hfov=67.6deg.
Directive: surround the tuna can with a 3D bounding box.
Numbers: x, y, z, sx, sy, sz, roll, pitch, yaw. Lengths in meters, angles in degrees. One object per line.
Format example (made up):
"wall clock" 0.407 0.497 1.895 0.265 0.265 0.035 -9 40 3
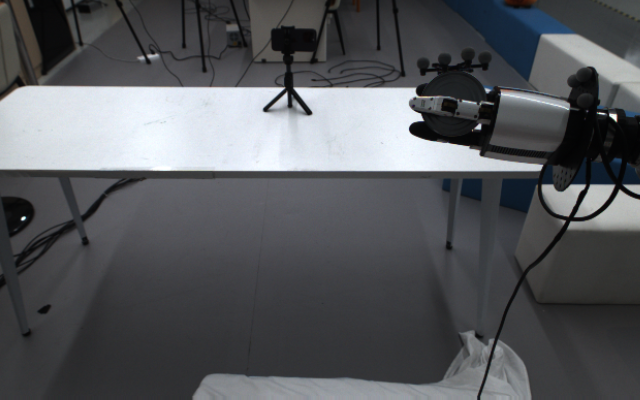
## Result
"tuna can" 0.180 -0.130 0.654 0.085 0.085 0.034 15 10 18
